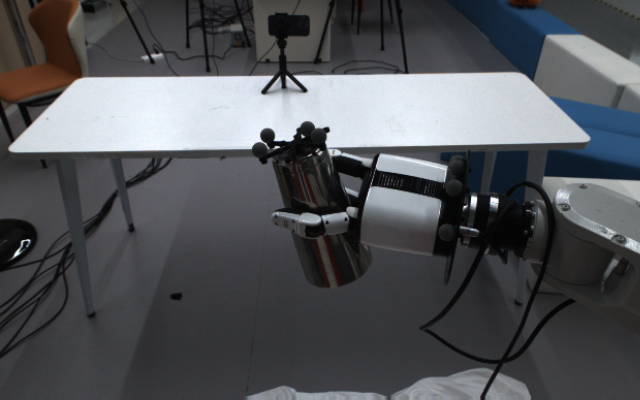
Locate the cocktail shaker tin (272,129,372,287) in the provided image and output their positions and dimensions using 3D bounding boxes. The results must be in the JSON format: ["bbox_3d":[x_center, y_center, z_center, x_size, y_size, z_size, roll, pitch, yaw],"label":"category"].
[{"bbox_3d":[0.000,0.014,0.594,0.093,0.170,0.093,-15,29,8],"label":"cocktail shaker tin"}]
